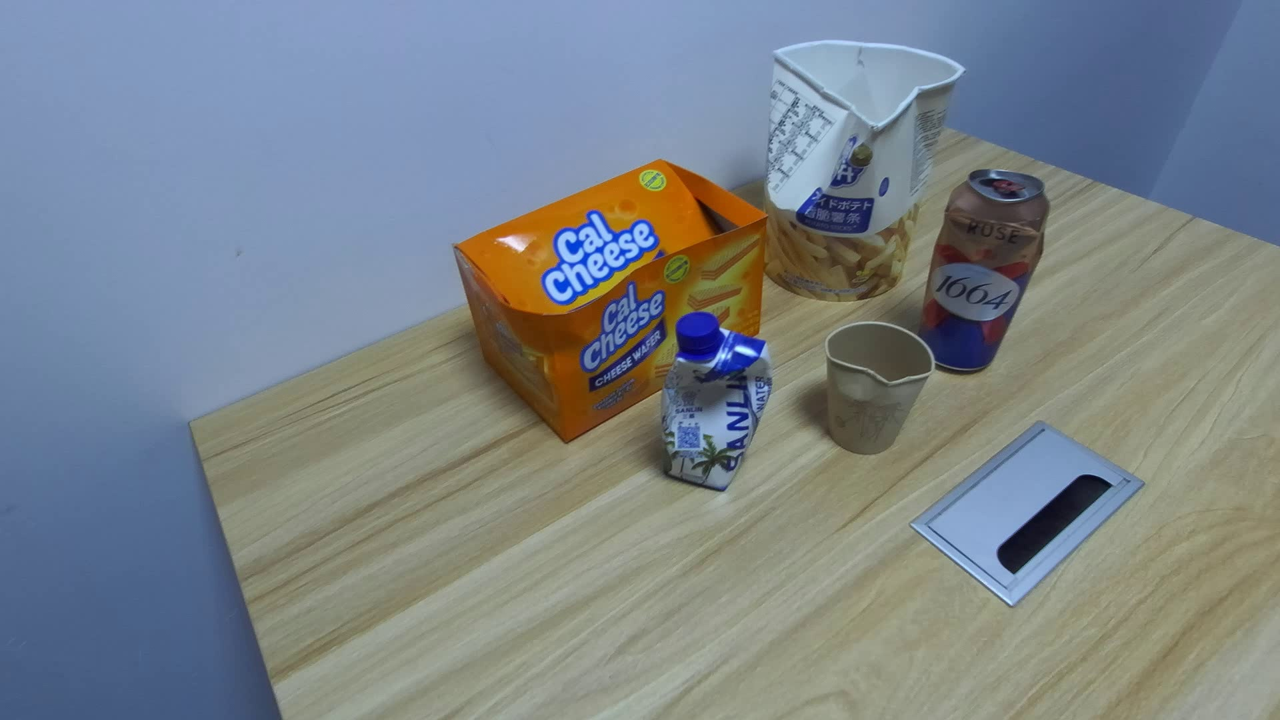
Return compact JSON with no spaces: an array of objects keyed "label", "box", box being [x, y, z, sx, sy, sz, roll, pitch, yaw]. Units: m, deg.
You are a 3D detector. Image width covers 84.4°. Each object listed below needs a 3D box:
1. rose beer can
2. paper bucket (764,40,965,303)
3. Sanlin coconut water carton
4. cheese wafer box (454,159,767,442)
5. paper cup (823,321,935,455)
[{"label":"rose beer can","box":[0.277,-0.070,0.577,0.075,0.167,0.065,26,47,33]},{"label":"paper bucket","box":[0.188,-0.180,0.684,0.162,0.202,0.169,30,49,34]},{"label":"Sanlin coconut water carton","box":[0.051,0.033,0.494,0.068,0.145,0.057,19,53,14]},{"label":"cheese wafer box","box":[-0.021,-0.057,0.615,0.231,0.132,0.151,-28,47,-25]},{"label":"paper cup","box":[0.173,0.024,0.535,0.073,0.081,0.068,-16,42,-14]}]
